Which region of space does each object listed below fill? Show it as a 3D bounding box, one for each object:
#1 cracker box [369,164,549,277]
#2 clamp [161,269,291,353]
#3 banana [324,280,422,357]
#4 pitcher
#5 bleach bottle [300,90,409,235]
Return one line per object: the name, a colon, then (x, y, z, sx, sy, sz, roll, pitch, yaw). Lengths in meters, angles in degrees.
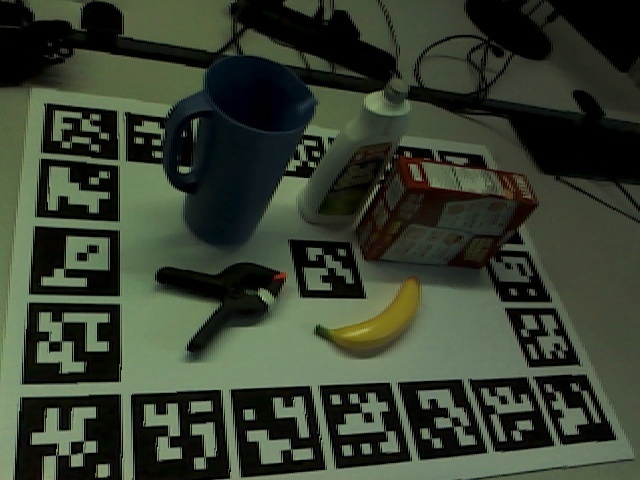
cracker box: (0.203, -0.026, 0.933, 0.213, 0.164, 0.072, 4, 47, -18)
clamp: (-0.112, 0.078, 0.814, 0.164, 0.036, 0.122, -10, 54, -32)
banana: (0.095, 0.115, 0.882, 0.074, 0.039, 0.196, 45, 49, 18)
pitcher: (-0.106, -0.103, 0.801, 0.188, 0.243, 0.134, -12, 56, -34)
bleach bottle: (0.054, -0.111, 0.905, 0.102, 0.251, 0.068, 4, 49, -21)
